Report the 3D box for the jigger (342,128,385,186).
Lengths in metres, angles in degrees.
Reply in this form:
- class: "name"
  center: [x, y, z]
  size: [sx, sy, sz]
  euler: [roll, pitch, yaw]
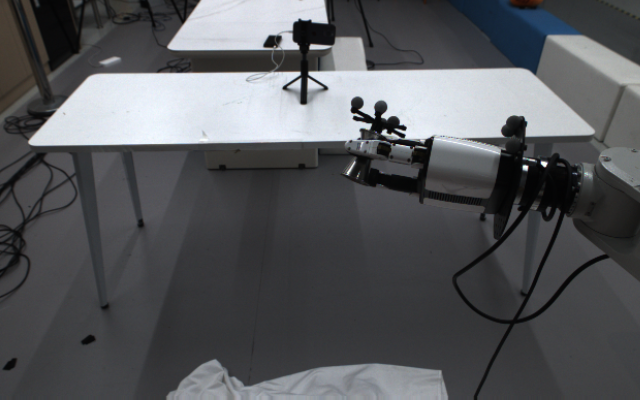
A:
- class: "jigger"
  center: [0.057, -0.060, 0.654]
  size: [0.043, 0.071, 0.043]
  euler: [25, -3, 1]
